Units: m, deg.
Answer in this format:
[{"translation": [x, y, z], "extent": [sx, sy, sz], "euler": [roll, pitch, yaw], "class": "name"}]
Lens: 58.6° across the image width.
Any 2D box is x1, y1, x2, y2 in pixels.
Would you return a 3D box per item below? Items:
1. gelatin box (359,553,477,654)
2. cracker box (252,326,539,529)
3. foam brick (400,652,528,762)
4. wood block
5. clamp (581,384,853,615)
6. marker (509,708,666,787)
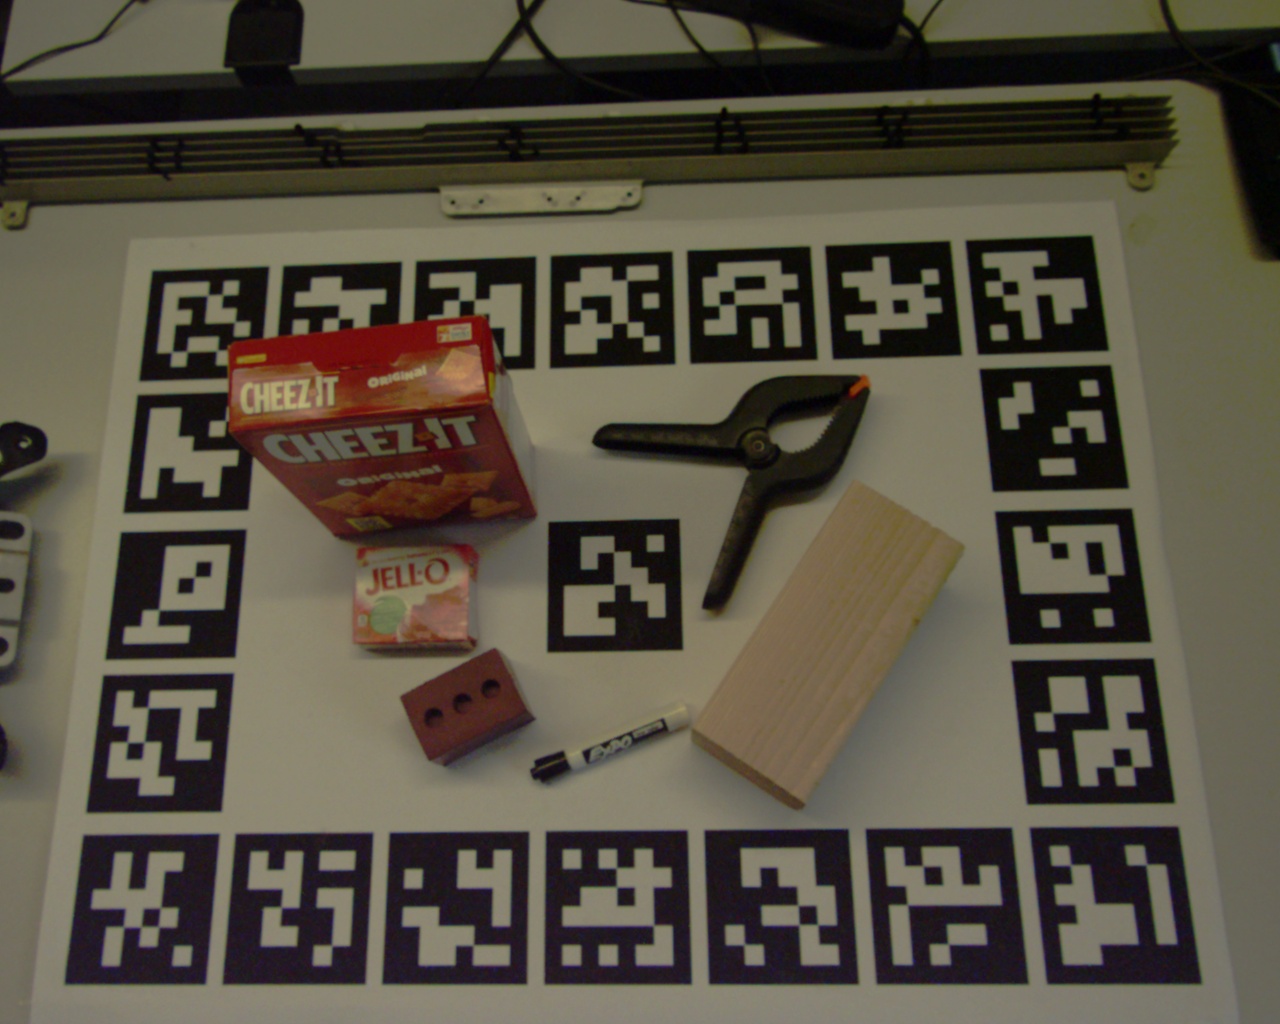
[{"translation": [-0.172, 0.071, 0.885], "extent": [0.089, 0.030, 0.073], "euler": [-3, 76, 3], "class": "gelatin box"}, {"translation": [-0.164, -0.051, 0.816], "extent": [0.164, 0.213, 0.072], "euler": [-5, 74, 0], "class": "cracker box"}, {"translation": [-0.130, 0.146, 0.848], "extent": [0.078, 0.051, 0.053], "euler": [-26, 77, -3], "class": "foam brick"}, {"translation": [0.120, 0.100, 0.827], "extent": [0.090, 0.090, 0.206], "euler": [32, 77, 13], "class": "wood block"}, {"translation": [0.080, -0.038, 0.891], "extent": [0.202, 0.036, 0.166], "euler": [-32, 76, -4], "class": "clamp"}, {"translation": [-0.040, 0.176, 0.849], "extent": [0.121, 0.019, 0.020], "euler": [-21, 77, -2], "class": "marker"}]
